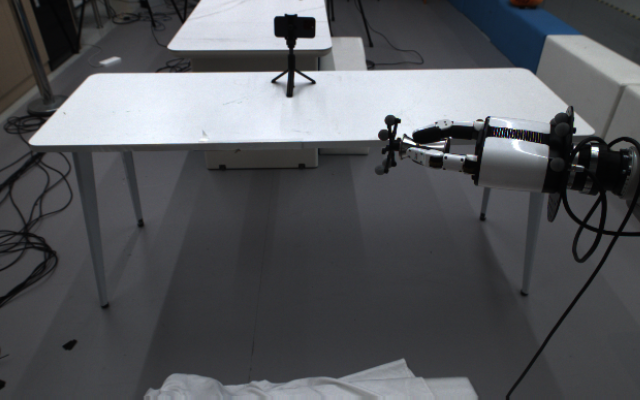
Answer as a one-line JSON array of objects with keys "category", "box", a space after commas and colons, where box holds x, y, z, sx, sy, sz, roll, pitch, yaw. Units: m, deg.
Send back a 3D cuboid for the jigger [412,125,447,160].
[{"category": "jigger", "box": [0.162, -0.079, 0.726, 0.071, 0.043, 0.043, 10, 35, 22]}]
